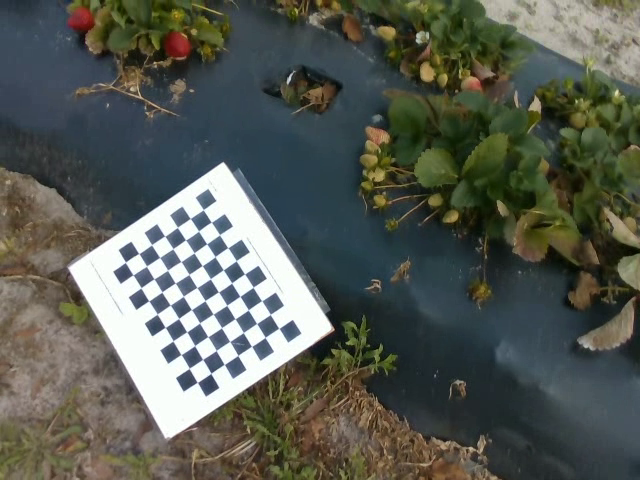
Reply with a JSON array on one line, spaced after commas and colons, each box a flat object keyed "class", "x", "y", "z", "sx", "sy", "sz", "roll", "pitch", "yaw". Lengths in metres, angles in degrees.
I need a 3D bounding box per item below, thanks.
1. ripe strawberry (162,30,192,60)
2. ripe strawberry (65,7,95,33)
[{"class": "ripe strawberry", "x": -0.232, "y": -0.318, "z": 1.079, "sx": 0.043, "sy": 0.046, "sz": 0.047, "roll": -35, "pitch": -41, "yaw": -3}, {"class": "ripe strawberry", "x": -0.390, "y": -0.358, "z": 1.082, "sx": 0.050, "sy": 0.043, "sz": 0.043, "roll": -44, "pitch": -12, "yaw": -31}]
